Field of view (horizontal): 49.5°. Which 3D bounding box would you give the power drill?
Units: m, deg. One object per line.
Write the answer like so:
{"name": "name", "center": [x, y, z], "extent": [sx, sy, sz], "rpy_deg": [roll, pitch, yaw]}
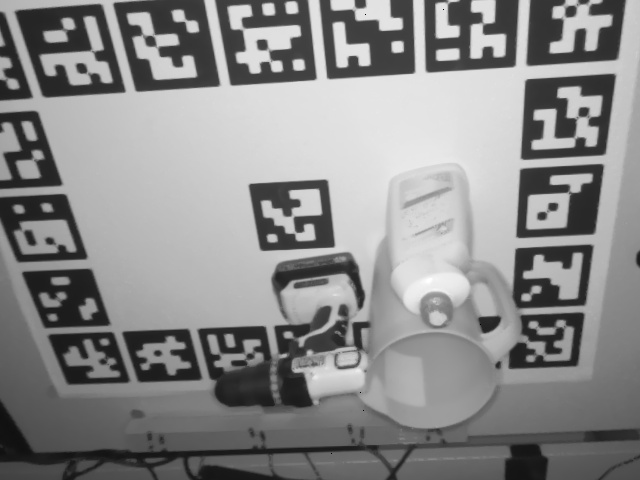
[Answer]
{"name": "power drill", "center": [-0.019, 0.128, 0.835], "extent": [0.183, 0.189, 0.057], "rpy_deg": [-5, 116, 12]}

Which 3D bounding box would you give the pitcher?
{"name": "pitcher", "center": [0.146, 0.109, 0.806], "extent": [0.187, 0.244, 0.133], "rpy_deg": [-27, 112, 17]}

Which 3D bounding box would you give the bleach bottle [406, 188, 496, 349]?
{"name": "bleach bottle", "center": [0.146, 0.029, 0.740], "extent": [0.102, 0.253, 0.067], "rpy_deg": [-10, 118, 8]}
